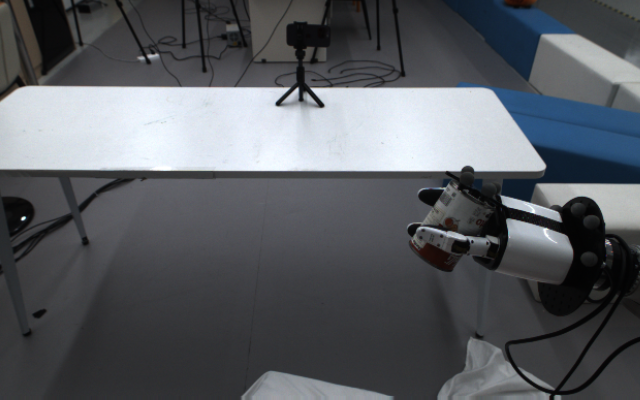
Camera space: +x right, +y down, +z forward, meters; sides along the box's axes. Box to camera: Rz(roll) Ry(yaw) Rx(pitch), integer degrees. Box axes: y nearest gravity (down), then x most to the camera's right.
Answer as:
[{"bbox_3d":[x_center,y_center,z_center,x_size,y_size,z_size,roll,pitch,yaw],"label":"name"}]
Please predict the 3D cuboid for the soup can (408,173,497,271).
[{"bbox_3d":[0.172,0.032,0.630,0.067,0.101,0.067,27,18,-9],"label":"soup can"}]
